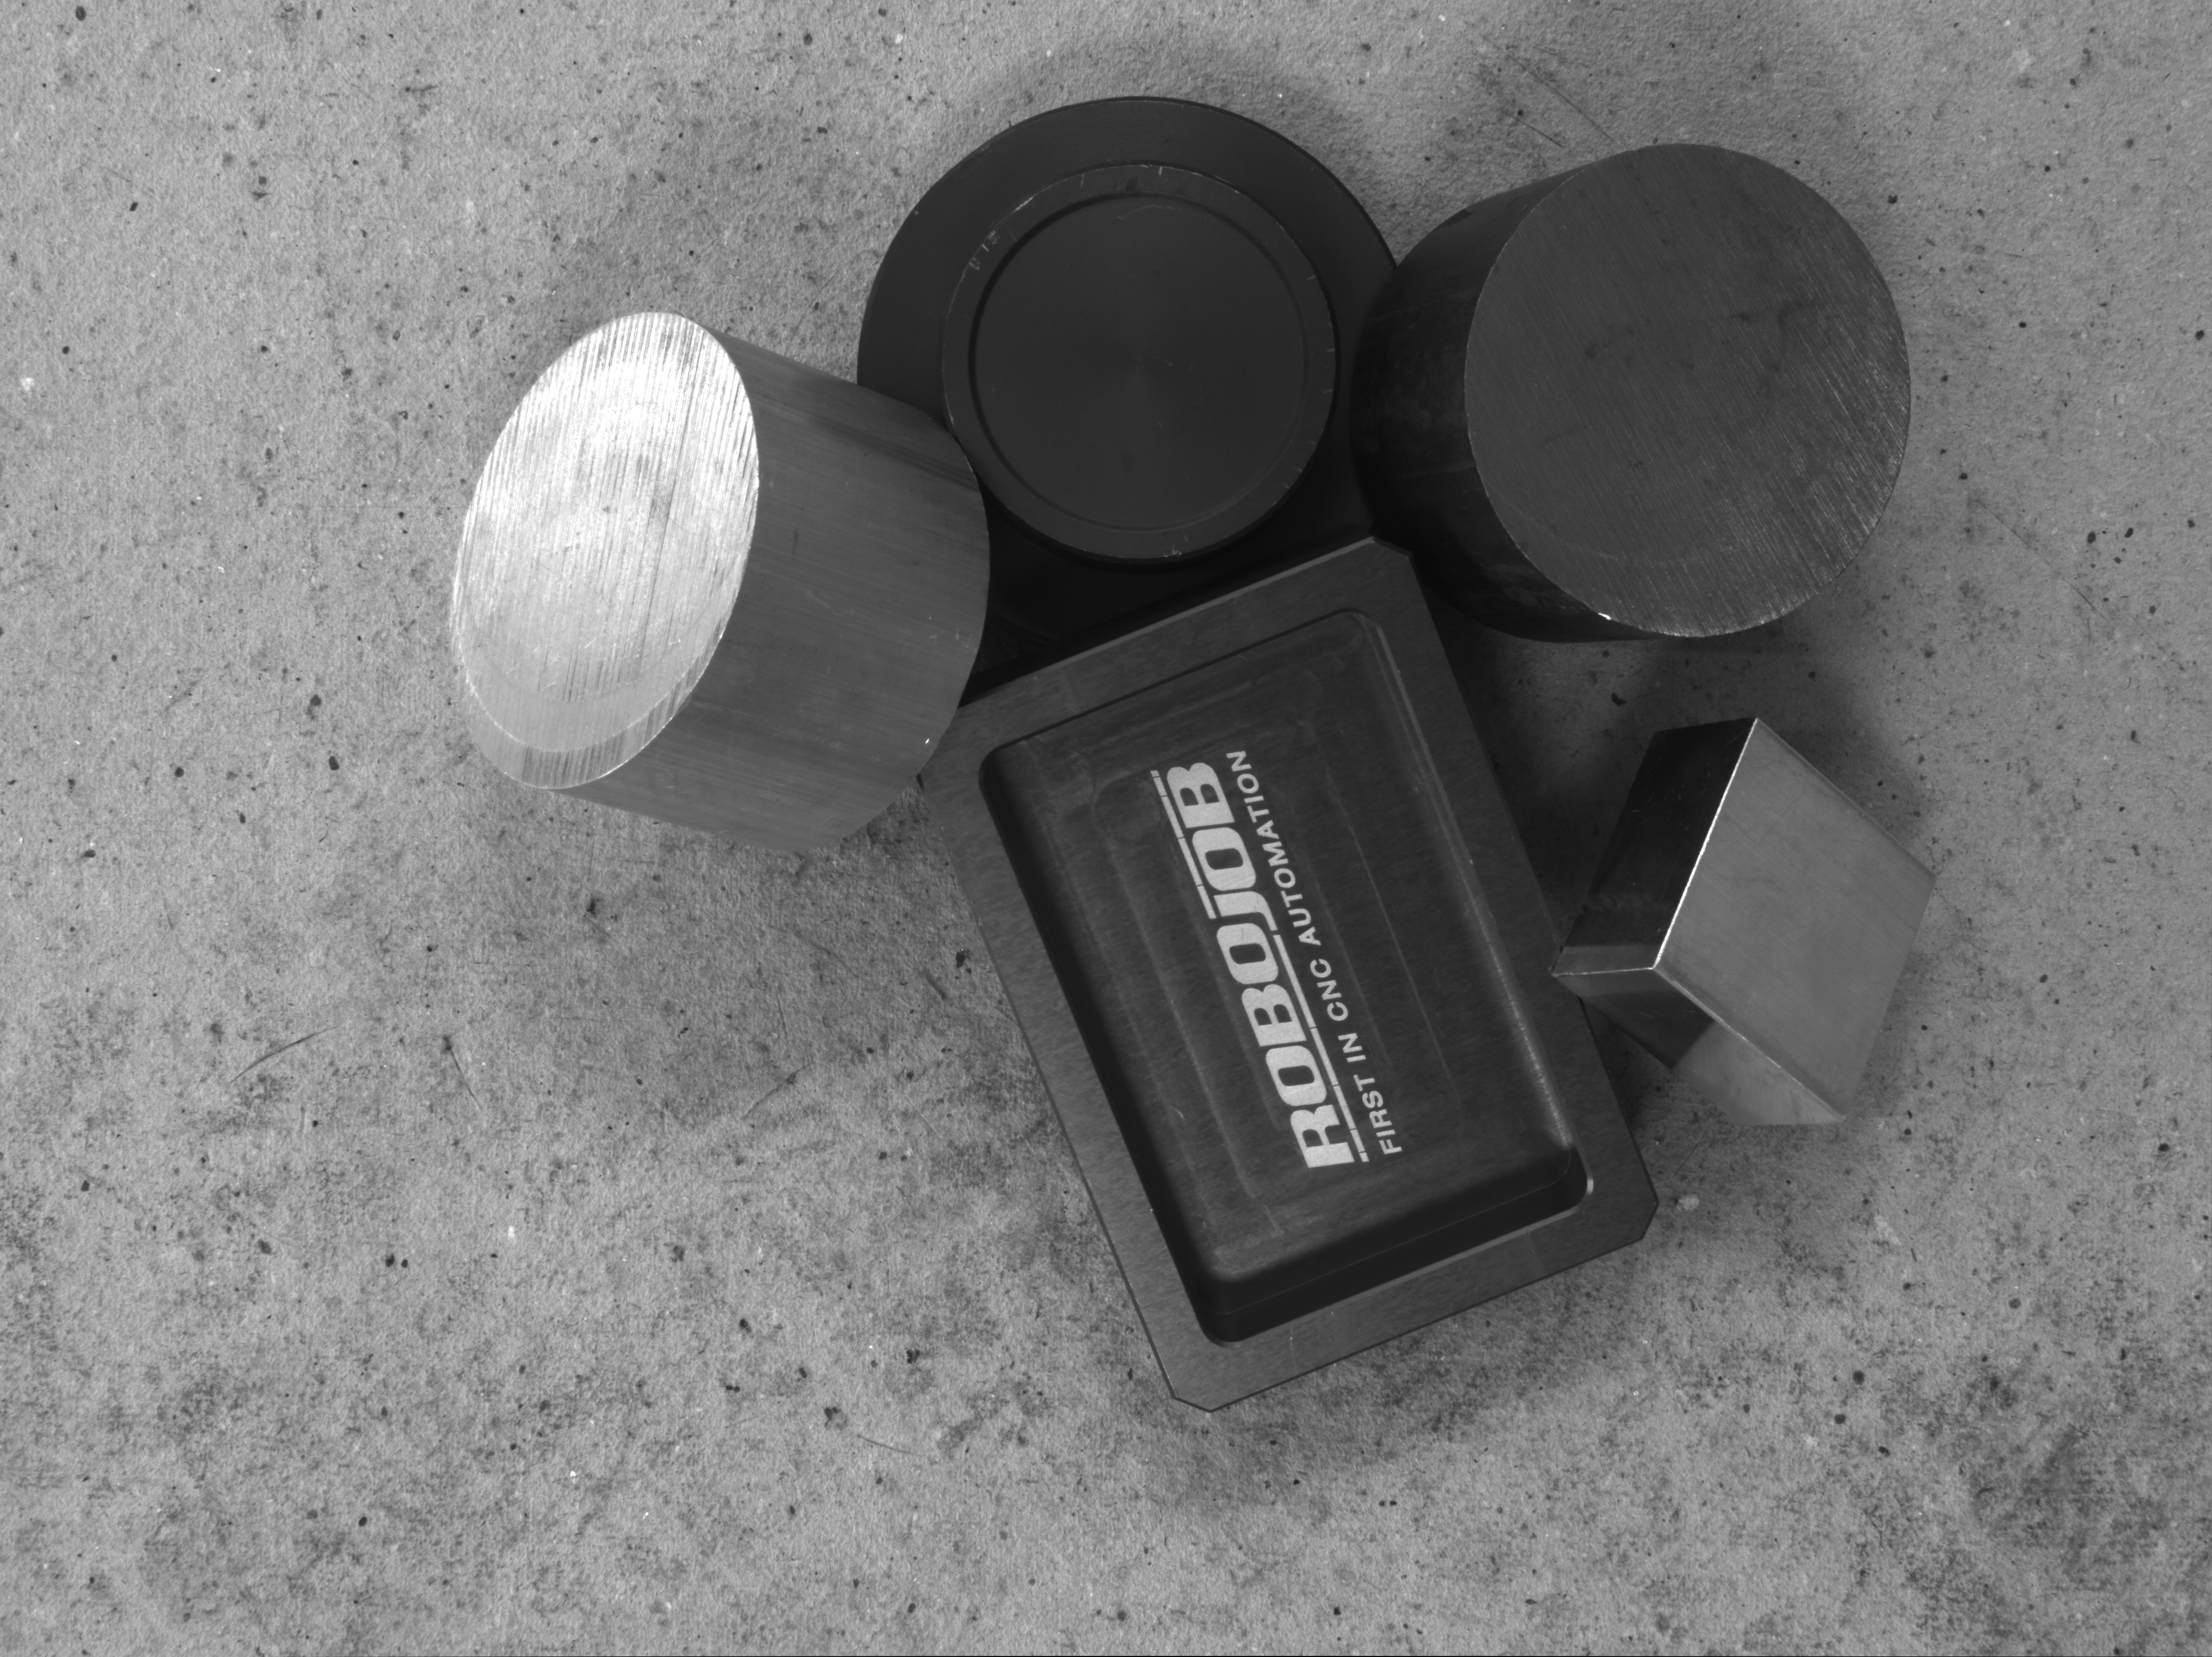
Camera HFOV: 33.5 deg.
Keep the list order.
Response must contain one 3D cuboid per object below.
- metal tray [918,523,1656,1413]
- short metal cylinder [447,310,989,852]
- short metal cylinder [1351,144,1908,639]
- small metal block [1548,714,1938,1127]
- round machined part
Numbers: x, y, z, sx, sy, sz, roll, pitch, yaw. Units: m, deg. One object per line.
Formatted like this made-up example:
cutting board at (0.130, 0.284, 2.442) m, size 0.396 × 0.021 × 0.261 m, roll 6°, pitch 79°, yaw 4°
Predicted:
metal tray at (0.030, 0.024, 0.632) m, size 0.090 × 0.030 × 0.130 m, roll -22°, pitch 99°, yaw 0°
short metal cylinder at (-0.065, -0.040, 0.612) m, size 0.050 × 0.080 × 0.080 m, roll 16°, pitch 90°, yaw -43°
short metal cylinder at (0.088, -0.072, 0.623) m, size 0.080 × 0.050 × 0.080 m, roll -1°, pitch 92°, yaw -18°
small metal block at (0.110, 0.016, 0.628) m, size 0.050 × 0.025 × 0.050 m, roll 38°, pitch 65°, yaw -26°
round machined part at (0.005, -0.079, 0.638) m, size 0.098 × 0.042 × 0.098 m, roll 0°, pitch 90°, yaw 0°
